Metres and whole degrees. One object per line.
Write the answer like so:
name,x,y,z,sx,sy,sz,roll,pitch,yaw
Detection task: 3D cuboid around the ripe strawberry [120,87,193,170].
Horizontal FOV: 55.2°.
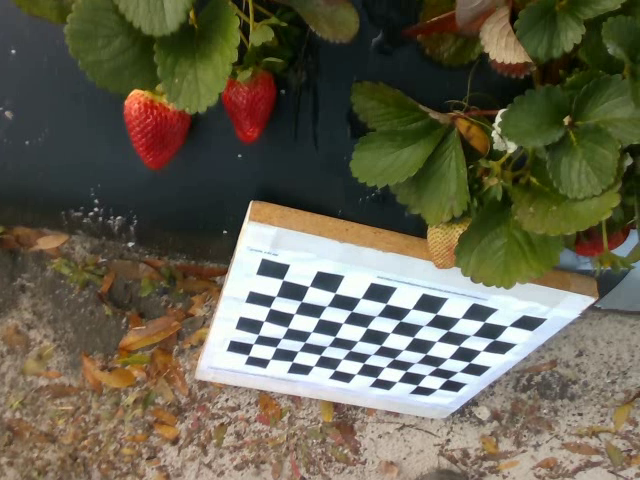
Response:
ripe strawberry,-0.114,-0.076,0.423,0.050,0.061,0.045,9,13,-1

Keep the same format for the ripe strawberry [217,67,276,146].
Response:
ripe strawberry,-0.050,-0.089,0.413,0.042,0.053,0.034,5,17,4
